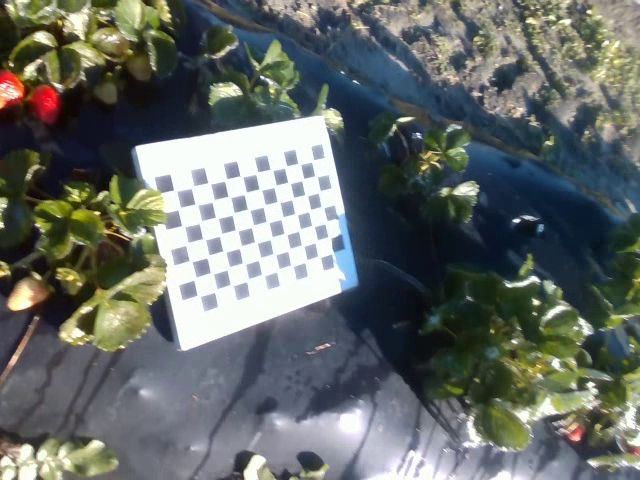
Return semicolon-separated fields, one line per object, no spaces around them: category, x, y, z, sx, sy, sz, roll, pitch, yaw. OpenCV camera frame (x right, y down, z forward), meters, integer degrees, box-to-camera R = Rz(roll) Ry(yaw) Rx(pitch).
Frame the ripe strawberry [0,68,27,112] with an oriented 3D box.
ripe strawberry;-0.442;-0.206;0.736;0.053;0.070;0.040;37;-27;-29

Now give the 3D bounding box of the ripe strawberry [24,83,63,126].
ripe strawberry;-0.391;-0.197;0.752;0.044;0.059;0.040;-18;0;-29
